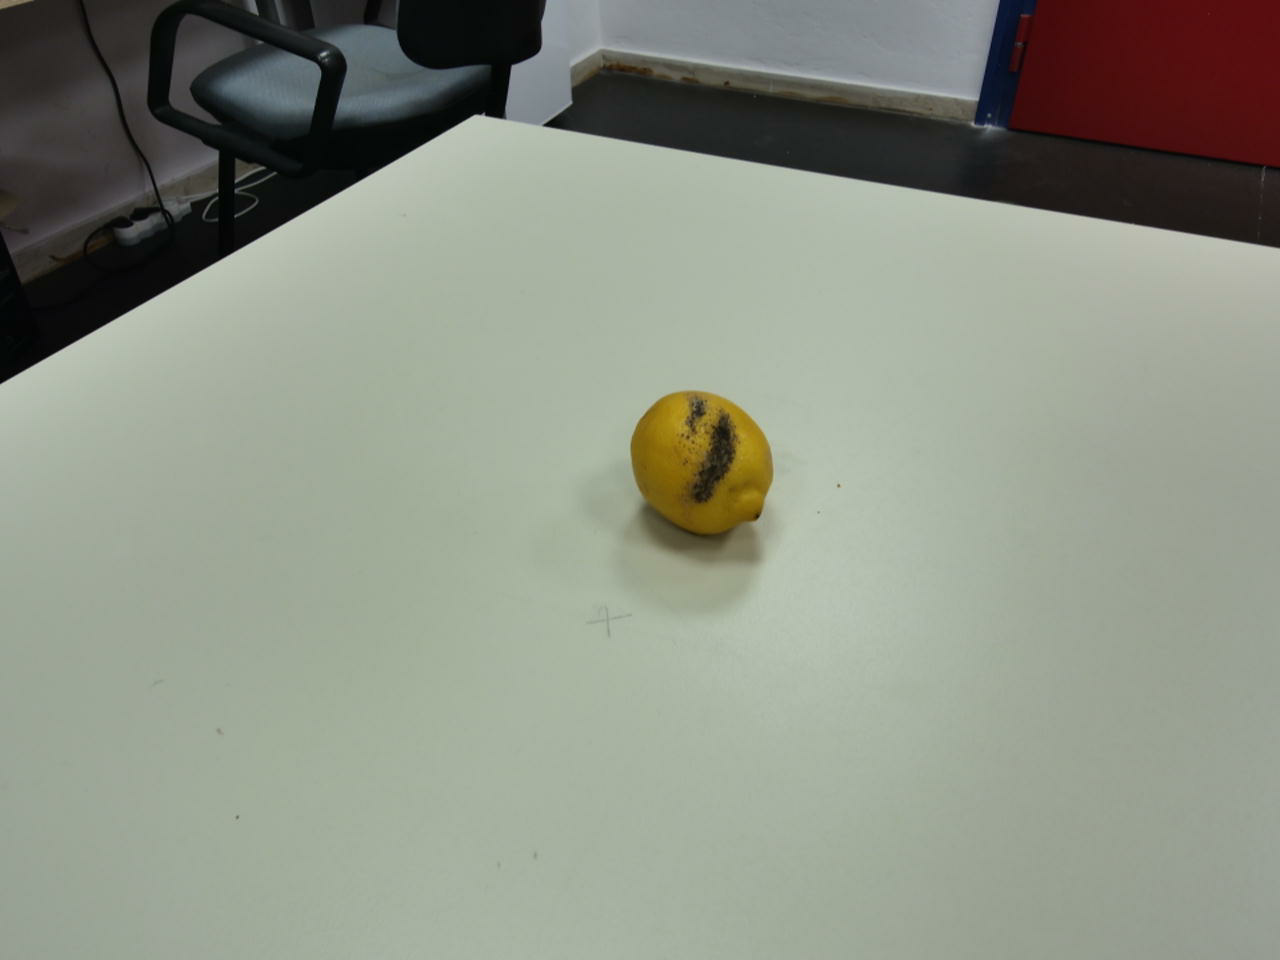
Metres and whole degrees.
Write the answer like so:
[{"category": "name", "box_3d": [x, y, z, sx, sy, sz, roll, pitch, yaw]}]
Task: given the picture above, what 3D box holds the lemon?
[{"category": "lemon", "box_3d": [0.026, -0.008, 0.420, 0.061, 0.056, 0.058, 11, 39, 15]}]
